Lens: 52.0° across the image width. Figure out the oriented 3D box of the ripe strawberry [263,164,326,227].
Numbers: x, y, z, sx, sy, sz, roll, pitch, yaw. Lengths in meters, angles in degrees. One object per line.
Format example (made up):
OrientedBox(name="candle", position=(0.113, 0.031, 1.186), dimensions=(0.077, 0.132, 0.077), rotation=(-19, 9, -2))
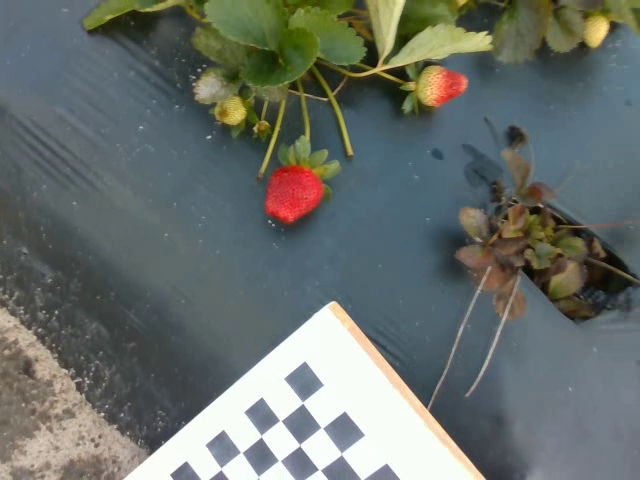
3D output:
OrientedBox(name="ripe strawberry", position=(-0.021, -0.031, 0.470), dimensions=(0.045, 0.042, 0.054), rotation=(1, 34, 23))
